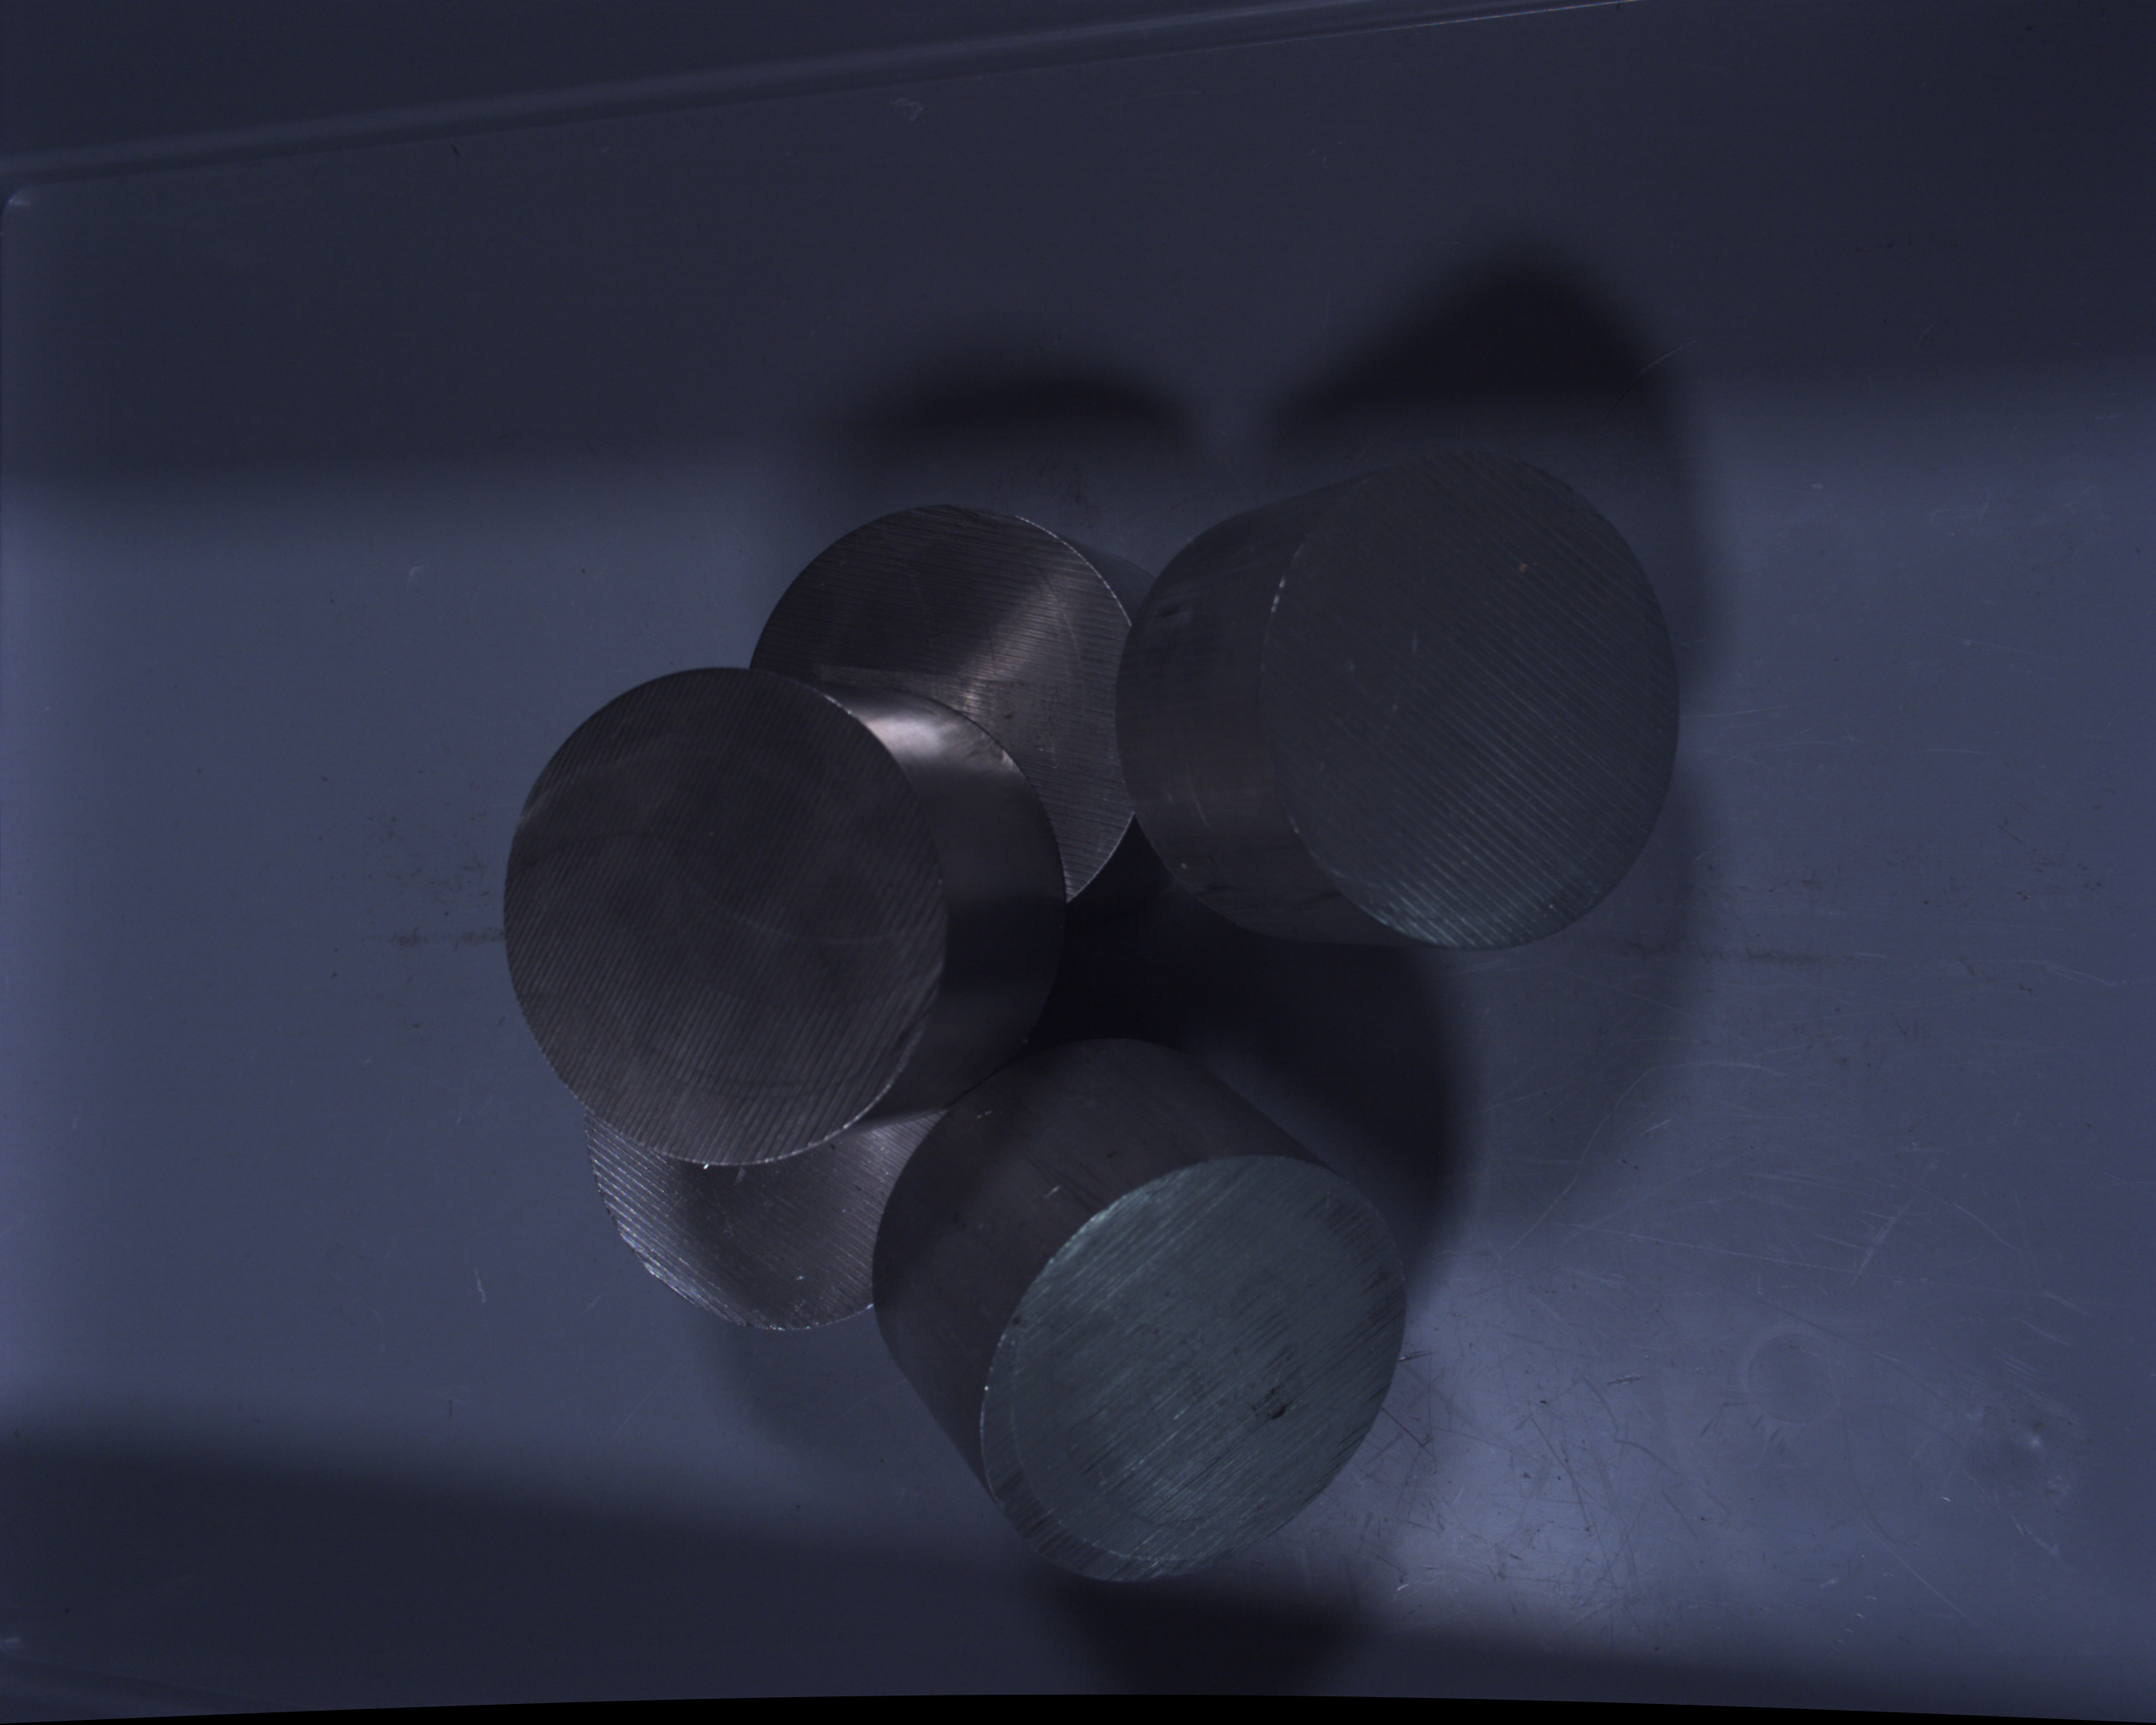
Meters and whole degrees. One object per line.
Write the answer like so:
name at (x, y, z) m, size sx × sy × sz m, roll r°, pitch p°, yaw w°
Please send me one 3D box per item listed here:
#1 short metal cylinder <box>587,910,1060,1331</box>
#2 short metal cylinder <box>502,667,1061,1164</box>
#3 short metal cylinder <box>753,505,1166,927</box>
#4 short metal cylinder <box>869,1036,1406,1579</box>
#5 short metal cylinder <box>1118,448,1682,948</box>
short metal cylinder at (-0.048, 0.047, 0.412) m, size 0.080 × 0.050 × 0.079 m, roll 0°, pitch 90°, yaw 19°
short metal cylinder at (-0.049, 0.008, 0.357) m, size 0.080 × 0.050 × 0.079 m, roll 0°, pitch 90°, yaw 19°
short metal cylinder at (-0.016, -0.025, 0.400) m, size 0.080 × 0.050 × 0.079 m, roll 0°, pitch 90°, yaw 19°
short metal cylinder at (0.010, 0.077, 0.368) m, size 0.050 × 0.081 × 0.080 m, roll 35°, pitch 105°, yaw 58°
short metal cylinder at (0.054, -0.026, 0.354) m, size 0.081 × 0.050 × 0.079 m, roll 1°, pitch 89°, yaw -25°
